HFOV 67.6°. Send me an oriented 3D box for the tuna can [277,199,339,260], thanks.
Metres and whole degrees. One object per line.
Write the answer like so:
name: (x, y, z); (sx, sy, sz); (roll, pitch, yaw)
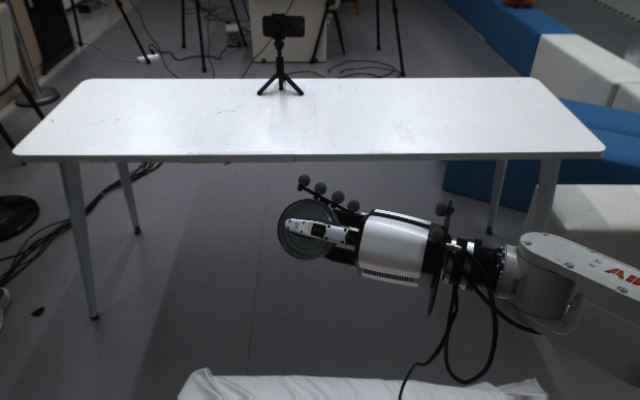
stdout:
tuna can: (-0.014, 0.042, 0.683); (0.085, 0.085, 0.034); (9, -4, 10)
